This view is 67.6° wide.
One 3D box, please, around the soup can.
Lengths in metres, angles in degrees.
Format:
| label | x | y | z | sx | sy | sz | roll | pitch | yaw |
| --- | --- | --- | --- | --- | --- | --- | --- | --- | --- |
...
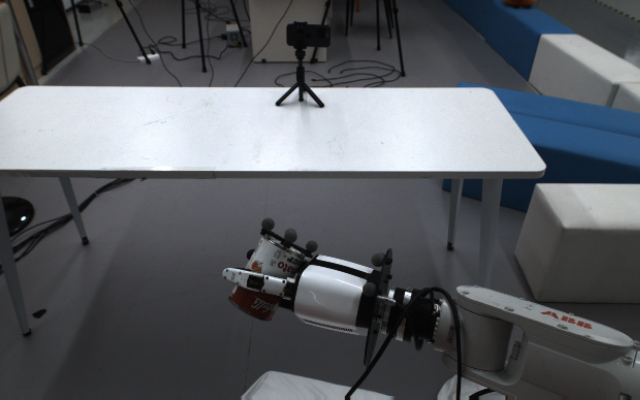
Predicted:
| label | x | y | z | sx | sy | sz | roll | pitch | yaw |
| --- | --- | --- | --- | --- | --- | --- | --- | --- | --- |
| soup can | -0.073 | 0.107 | 0.670 | 0.067 | 0.101 | 0.067 | 29 | -2 | 1 |
